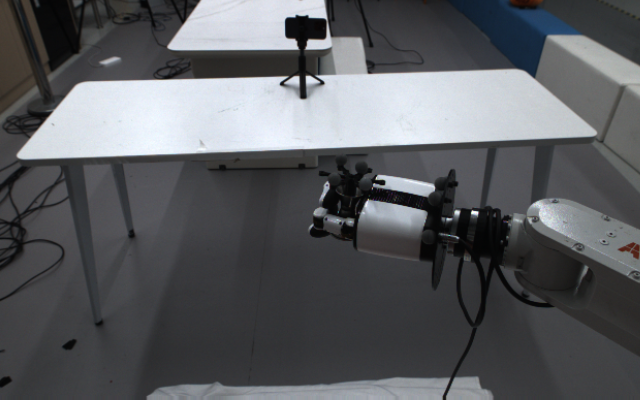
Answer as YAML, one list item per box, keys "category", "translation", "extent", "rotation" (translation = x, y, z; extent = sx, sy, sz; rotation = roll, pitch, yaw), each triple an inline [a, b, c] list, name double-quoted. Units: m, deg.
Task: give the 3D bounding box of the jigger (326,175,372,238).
- category: "jigger"
  translation: [0.039, 0.016, 0.666]
  extent: [0.043, 0.071, 0.043]
  rotation: [6, 26, -3]
